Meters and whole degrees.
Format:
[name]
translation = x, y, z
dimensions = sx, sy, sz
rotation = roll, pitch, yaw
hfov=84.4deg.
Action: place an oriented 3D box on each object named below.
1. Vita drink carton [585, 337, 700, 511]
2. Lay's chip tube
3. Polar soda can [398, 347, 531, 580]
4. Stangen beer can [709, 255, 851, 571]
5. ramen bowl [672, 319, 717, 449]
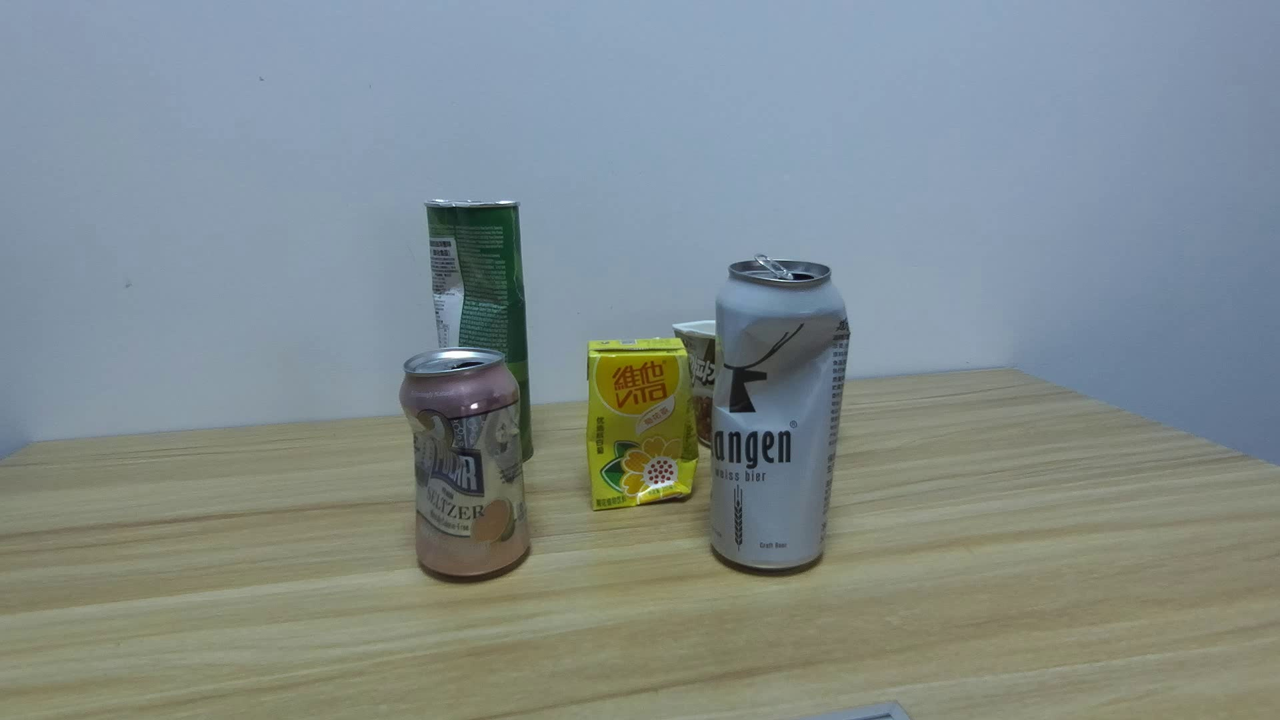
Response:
[Vita drink carton]
translation = 0.002, 0.042, 0.476
dimensions = 0.076, 0.109, 0.043
rotation = -2, 16, -3
[Lay's chip tube]
translation = -0.123, -0.018, 0.544
dimensions = 0.075, 0.199, 0.069
rotation = -2, 14, -6
[Polar soda can]
translation = -0.099, 0.059, 0.401
dimensions = 0.067, 0.122, 0.074
rotation = -3, 13, -5
[Stangen beer can]
translation = 0.074, 0.031, 0.392
dimensions = 0.070, 0.173, 0.070
rotation = 12, 21, 36
[ramen bowl]
translation = 0.075, 0.022, 0.517
dimensions = 0.134, 0.097, 0.113
rotation = 5, 2, -34
